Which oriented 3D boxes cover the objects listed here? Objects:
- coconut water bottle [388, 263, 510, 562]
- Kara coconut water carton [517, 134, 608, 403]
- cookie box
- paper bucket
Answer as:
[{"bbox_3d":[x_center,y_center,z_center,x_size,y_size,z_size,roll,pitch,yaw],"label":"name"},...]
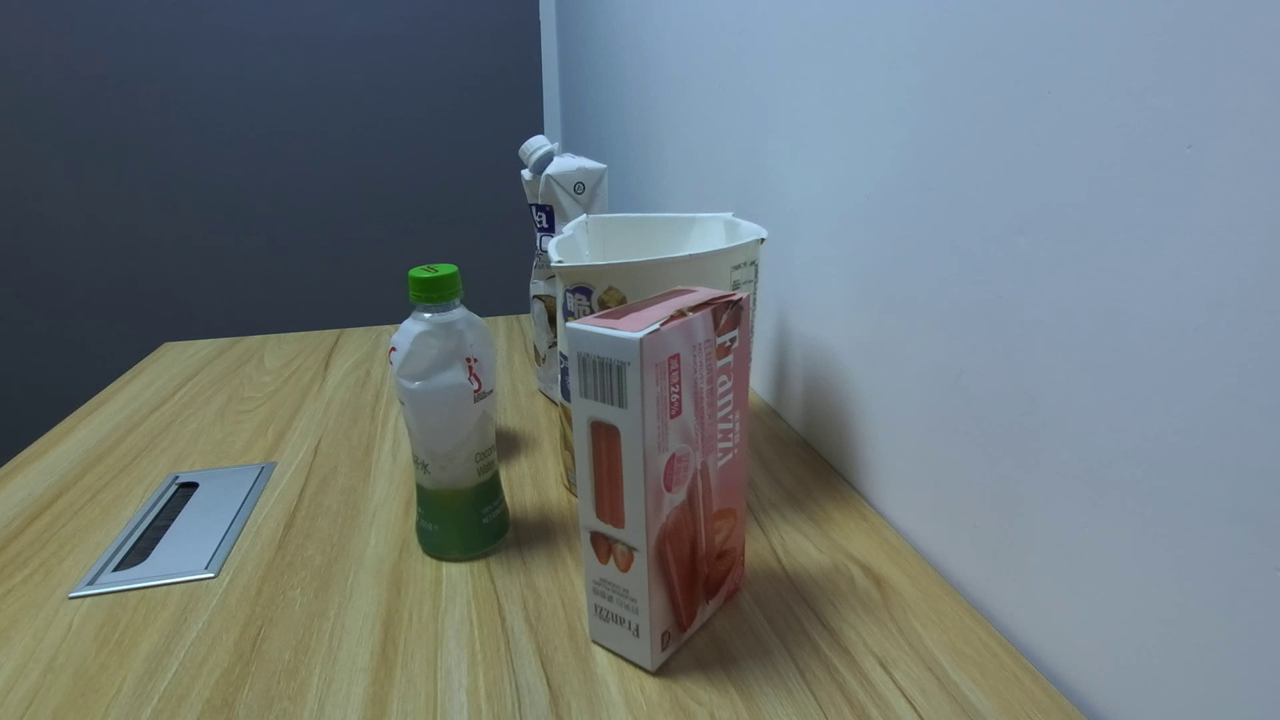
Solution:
[{"bbox_3d":[-0.123,0.034,0.456,0.069,0.186,0.069,-2,20,1],"label":"coconut water bottle"},{"bbox_3d":[-0.068,-0.083,0.681,0.078,0.255,0.083,-8,19,-15],"label":"Kara coconut water carton"},{"bbox_3d":[0.018,0.057,0.382,0.048,0.187,0.105,13,24,36],"label":"cookie box"},{"bbox_3d":[0.012,-0.005,0.543,0.146,0.197,0.202,-2,20,-3],"label":"paper bucket"}]
